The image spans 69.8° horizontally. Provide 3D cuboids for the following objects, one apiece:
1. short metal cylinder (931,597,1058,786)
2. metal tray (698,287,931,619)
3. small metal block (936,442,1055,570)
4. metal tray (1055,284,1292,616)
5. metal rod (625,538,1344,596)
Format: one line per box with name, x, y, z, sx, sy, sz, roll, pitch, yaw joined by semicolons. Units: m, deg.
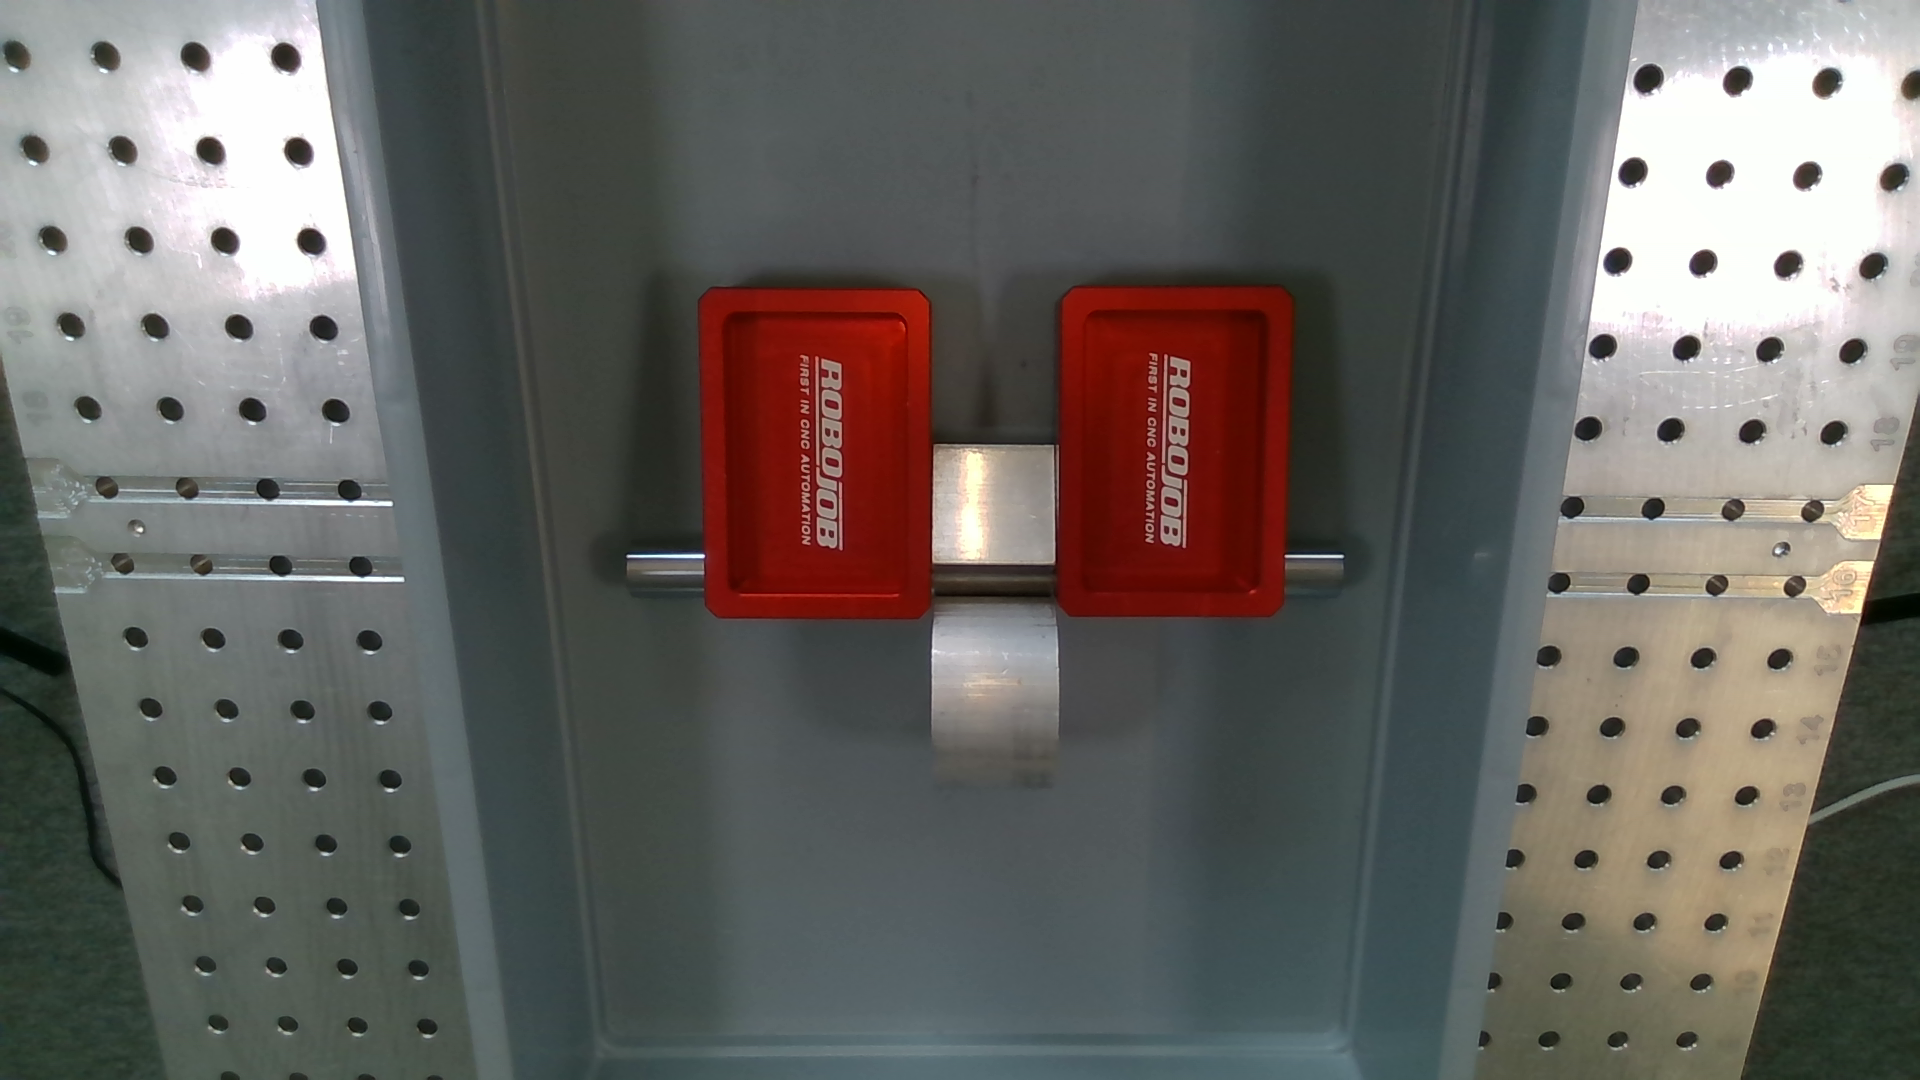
short metal cylinder;0.014;0.063;0.578;0.050;0.080;0.080;0;110;0
metal tray;-0.057;-0.035;0.553;0.090;0.030;0.130;0;98;0
small metal block;0.013;-0.013;0.568;0.050;0.025;0.050;1;79;0
metal tray;0.083;-0.036;0.553;0.090;0.030;0.130;0;98;0
metal rod;0.010;0.012;0.587;0.300;0.025;0.025;0;110;0
